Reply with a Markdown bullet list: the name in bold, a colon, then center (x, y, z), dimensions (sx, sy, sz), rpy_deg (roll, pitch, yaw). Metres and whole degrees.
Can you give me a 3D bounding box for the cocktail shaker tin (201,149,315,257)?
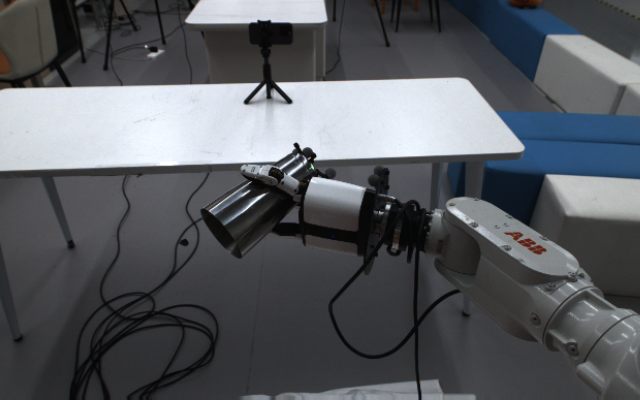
- **cocktail shaker tin**: center (-0.084, -0.005, 0.734), dimensions (0.170, 0.093, 0.093), rpy_deg (-38, 50, -24)
